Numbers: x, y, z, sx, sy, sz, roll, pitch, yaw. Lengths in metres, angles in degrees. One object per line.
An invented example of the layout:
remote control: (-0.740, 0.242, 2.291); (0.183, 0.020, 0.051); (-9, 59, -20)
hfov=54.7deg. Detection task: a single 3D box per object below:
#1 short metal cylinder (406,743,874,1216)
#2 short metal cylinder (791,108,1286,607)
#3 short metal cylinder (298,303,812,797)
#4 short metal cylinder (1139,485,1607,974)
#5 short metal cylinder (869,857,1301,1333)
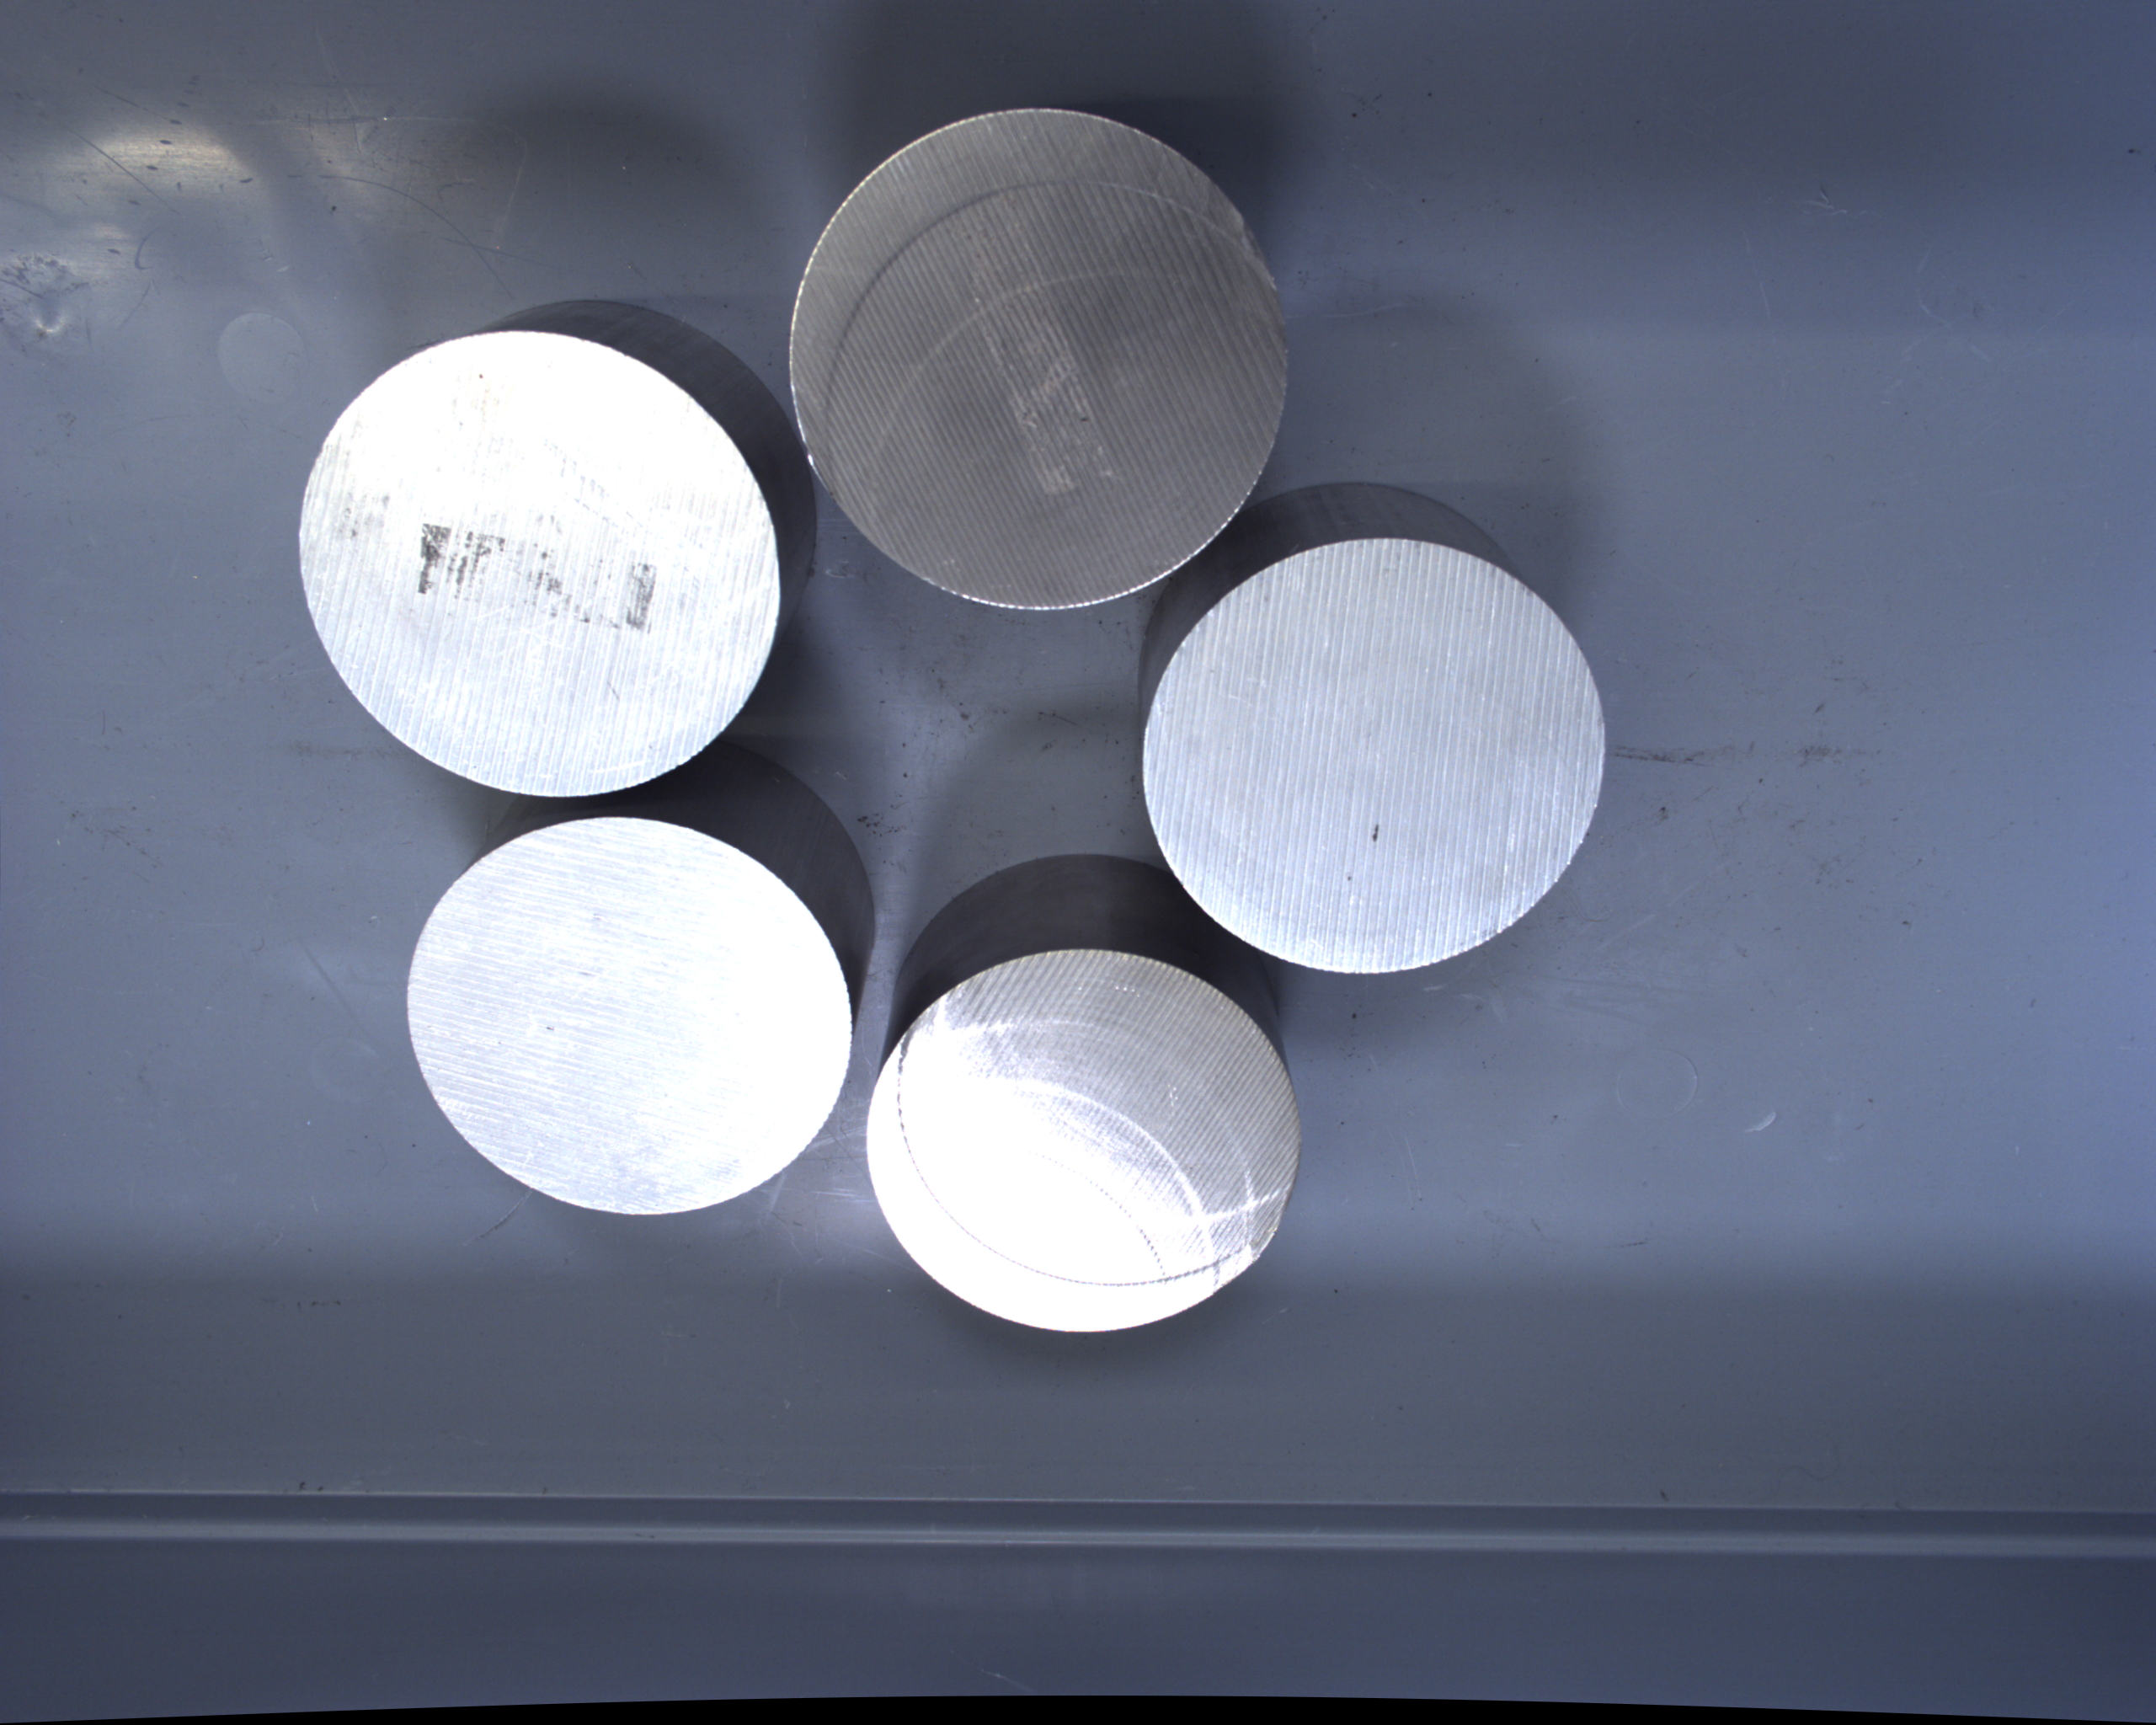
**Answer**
short metal cylinder: (-0.082, 0.021, 0.403); (0.081, 0.050, 0.079); (0, 110, 0)
short metal cylinder: (-0.006, -0.089, 0.363); (0.081, 0.050, 0.079); (0, 110, 0)
short metal cylinder: (-0.090, -0.057, 0.374); (0.081, 0.050, 0.079); (0, 110, 0)
short metal cylinder: (0.052, -0.026, 0.387); (0.081, 0.050, 0.079); (0, 110, 0)
short metal cylinder: (0.001, 0.045, 0.412); (0.081, 0.050, 0.079); (0, 110, 0)
